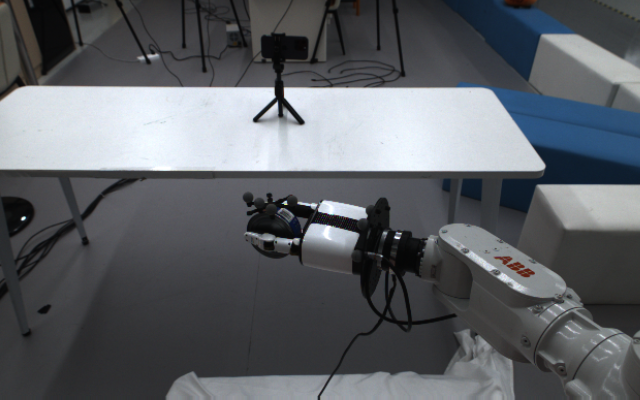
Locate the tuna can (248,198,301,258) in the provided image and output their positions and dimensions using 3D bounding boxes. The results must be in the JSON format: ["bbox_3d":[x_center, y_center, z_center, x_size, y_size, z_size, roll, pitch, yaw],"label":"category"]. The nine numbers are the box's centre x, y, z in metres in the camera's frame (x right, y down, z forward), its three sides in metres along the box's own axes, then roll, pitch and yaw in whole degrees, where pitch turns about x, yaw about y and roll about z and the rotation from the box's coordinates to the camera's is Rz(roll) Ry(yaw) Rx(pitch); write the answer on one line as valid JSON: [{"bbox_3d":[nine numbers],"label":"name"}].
[{"bbox_3d":[-0.074,0.051,0.795,0.085,0.085,0.034,14,29,17],"label":"tuna can"}]
